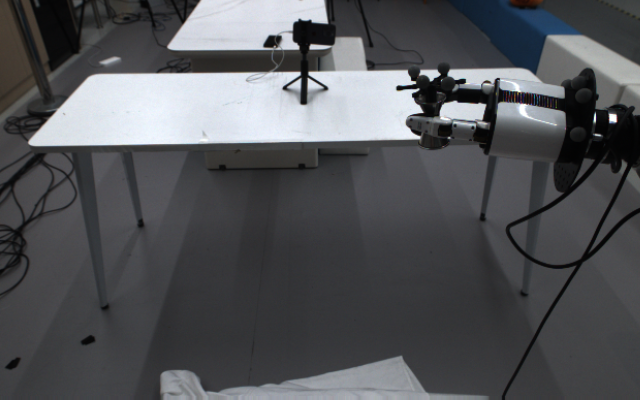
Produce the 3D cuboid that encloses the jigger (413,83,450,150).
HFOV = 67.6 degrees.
[{"bbox_3d":[0.155,-0.111,0.670,0.043,0.071,0.043,-9,31,5],"label":"jigger"}]
